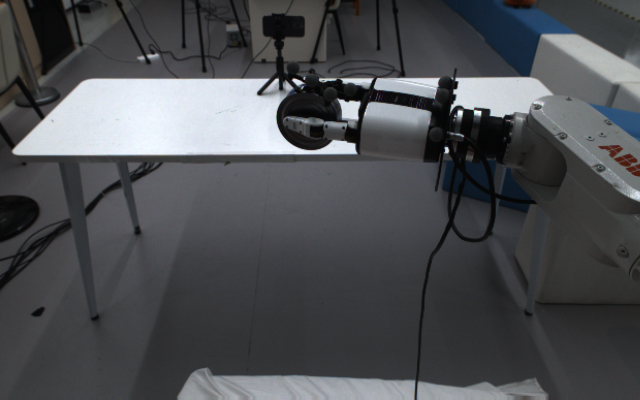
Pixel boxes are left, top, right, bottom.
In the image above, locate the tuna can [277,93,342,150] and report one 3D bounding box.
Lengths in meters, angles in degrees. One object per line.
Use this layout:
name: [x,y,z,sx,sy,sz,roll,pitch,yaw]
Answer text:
tuna can: [-0.014,-0.114,0.664,0.085,0.085,0.034,9,35,10]
